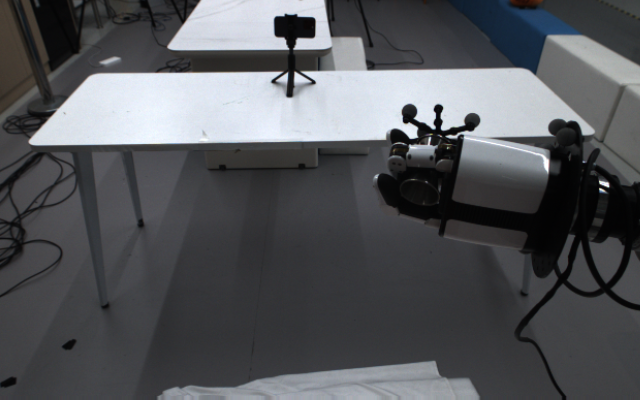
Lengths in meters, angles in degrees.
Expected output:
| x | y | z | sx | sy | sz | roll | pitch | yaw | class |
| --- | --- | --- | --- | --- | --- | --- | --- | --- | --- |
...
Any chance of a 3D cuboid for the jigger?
| x | y | z | sx | sy | sz | roll | pitch | yaw | class |
| --- | --- | --- | --- | --- | --- | --- | --- | --- | --- |
| 0.119 | -0.034 | 0.523 | 0.043 | 0.043 | 0.071 | 13 | 57 | 15 | jigger |
